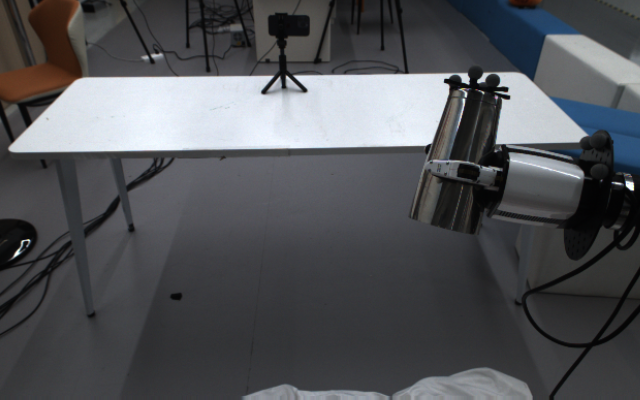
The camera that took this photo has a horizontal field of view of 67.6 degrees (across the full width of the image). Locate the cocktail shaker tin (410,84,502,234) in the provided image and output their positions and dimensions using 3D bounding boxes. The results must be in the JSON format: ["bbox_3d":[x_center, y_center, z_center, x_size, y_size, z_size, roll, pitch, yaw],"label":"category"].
[{"bbox_3d":[0.179,-0.050,0.619,0.093,0.170,0.093,13,4,-1],"label":"cocktail shaker tin"}]
